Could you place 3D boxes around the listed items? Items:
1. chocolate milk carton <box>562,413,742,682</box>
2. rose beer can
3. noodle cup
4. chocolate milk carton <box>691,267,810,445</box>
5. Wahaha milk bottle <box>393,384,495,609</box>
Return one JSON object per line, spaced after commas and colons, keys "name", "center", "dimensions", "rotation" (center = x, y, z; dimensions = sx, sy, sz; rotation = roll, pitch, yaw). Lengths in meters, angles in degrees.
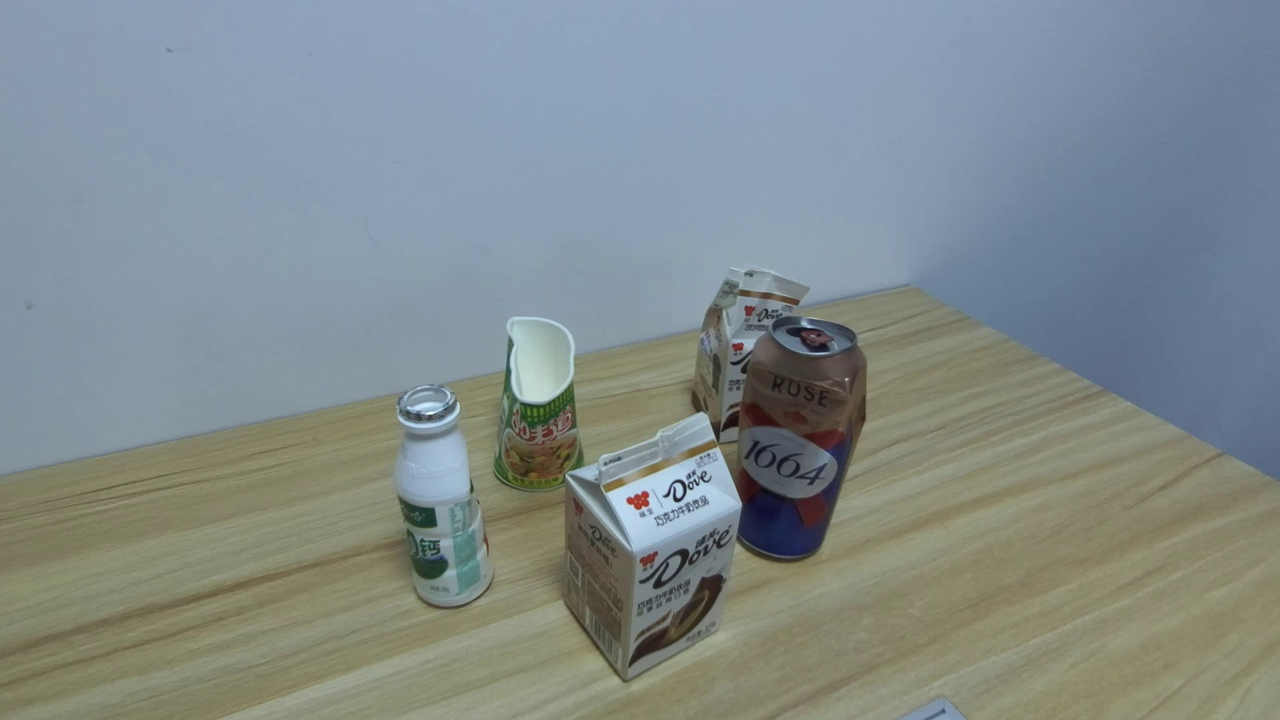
{"name": "chocolate milk carton", "center": [0.006, 0.099, 0.411], "dimensions": [0.076, 0.148, 0.073], "rotation": [-16, 37, -30]}
{"name": "rose beer can", "center": [0.105, 0.054, 0.474], "dimensions": [0.075, 0.167, 0.065], "rotation": [23, 34, 34]}
{"name": "noodle cup", "center": [-0.079, 0.039, 0.544], "dimensions": [0.070, 0.111, 0.115], "rotation": [6, 32, 7]}
{"name": "chocolate milk carton", "center": [0.094, -0.014, 0.593], "dimensions": [0.076, 0.156, 0.073], "rotation": [-7, 34, -14]}
{"name": "Wahaha milk bottle", "center": [-0.120, 0.085, 0.433], "dimensions": [0.056, 0.148, 0.056], "rotation": [1, 29, 0]}
